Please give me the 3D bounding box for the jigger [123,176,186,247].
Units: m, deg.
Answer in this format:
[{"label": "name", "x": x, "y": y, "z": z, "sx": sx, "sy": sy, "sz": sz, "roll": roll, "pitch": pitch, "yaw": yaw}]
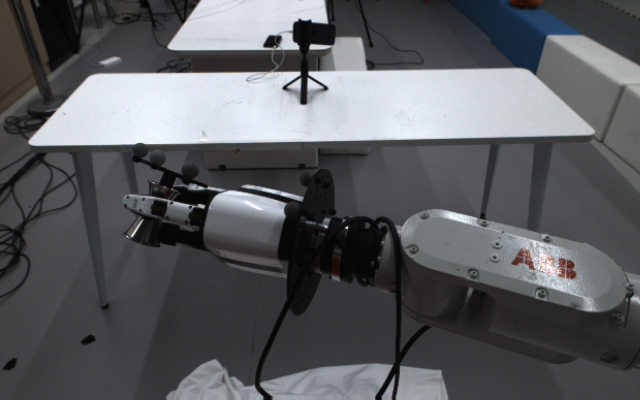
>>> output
[{"label": "jigger", "x": -0.192, "y": 0.014, "z": 0.554, "sx": 0.043, "sy": 0.071, "sz": 0.043, "roll": 24, "pitch": -2, "yaw": 1}]
